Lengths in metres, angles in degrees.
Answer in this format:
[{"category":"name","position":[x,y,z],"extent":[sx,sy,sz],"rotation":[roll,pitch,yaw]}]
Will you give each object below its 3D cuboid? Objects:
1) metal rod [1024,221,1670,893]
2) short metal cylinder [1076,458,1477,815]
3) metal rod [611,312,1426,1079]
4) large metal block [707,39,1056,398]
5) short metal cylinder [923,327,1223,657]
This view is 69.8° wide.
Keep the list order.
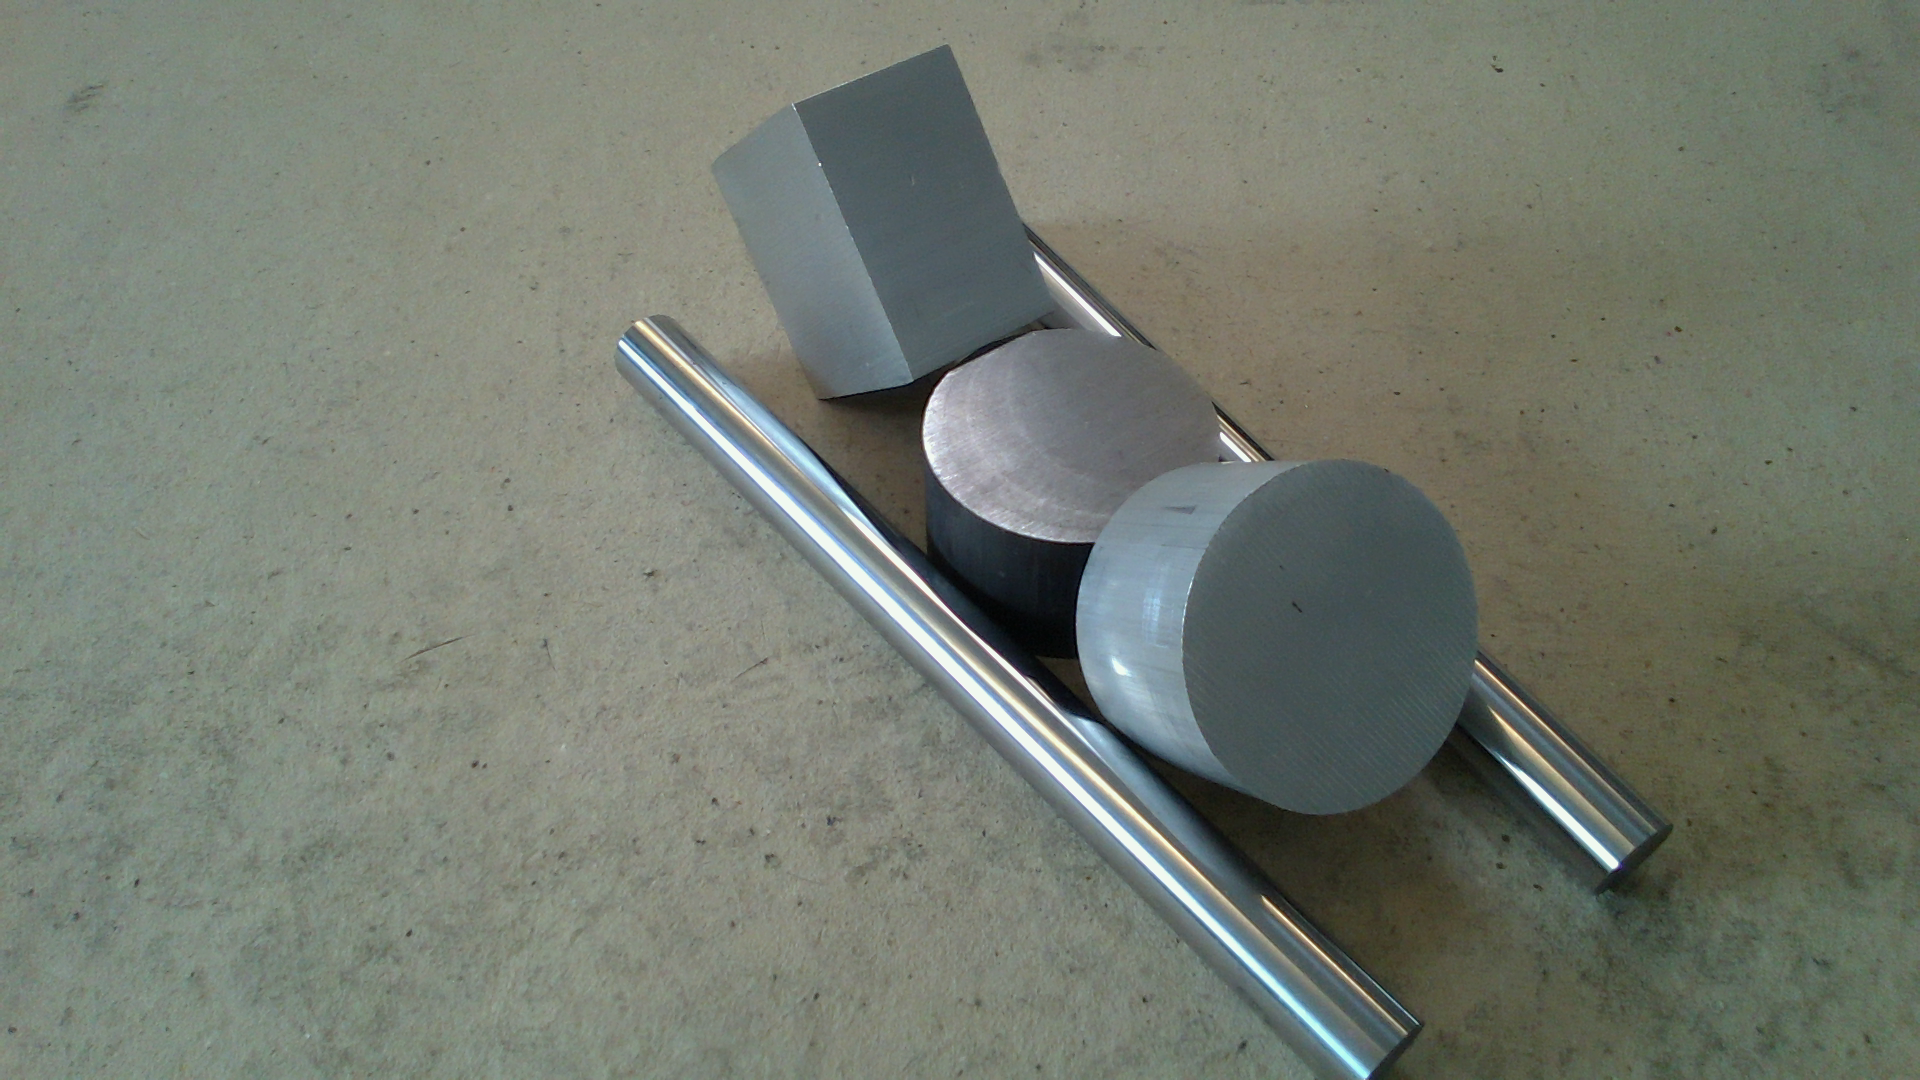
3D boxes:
[{"category":"metal rod","position":[0.080,-0.021,0.409],"extent":[0.025,0.025,0.299],"rotation":[-26,55,-20]},{"category":"short metal cylinder","position":[0.075,0.021,0.331],"extent":[0.080,0.080,0.050],"rotation":[-25,12,-20]},{"category":"metal rod","position":[-0.005,0.025,0.370],"extent":[0.025,0.025,0.299],"rotation":[-33,57,-25]},{"category":"large metal block","position":[-0.026,-0.092,0.413],"extent":[0.050,0.080,0.080],"rotation":[-29,14,-22]},{"category":"short metal cylinder","position":[0.030,-0.014,0.387],"extent":[0.080,0.050,0.080],"rotation":[0,50,0]}]
